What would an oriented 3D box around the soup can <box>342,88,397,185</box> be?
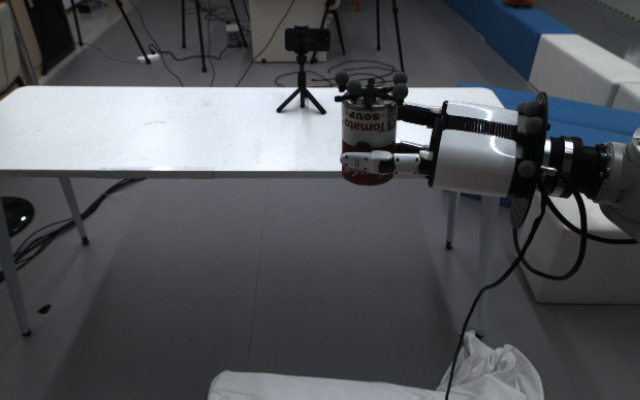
[{"bbox_3d":[0.061,-0.079,0.595,0.067,0.101,0.067,-2,34,1],"label":"soup can"}]
